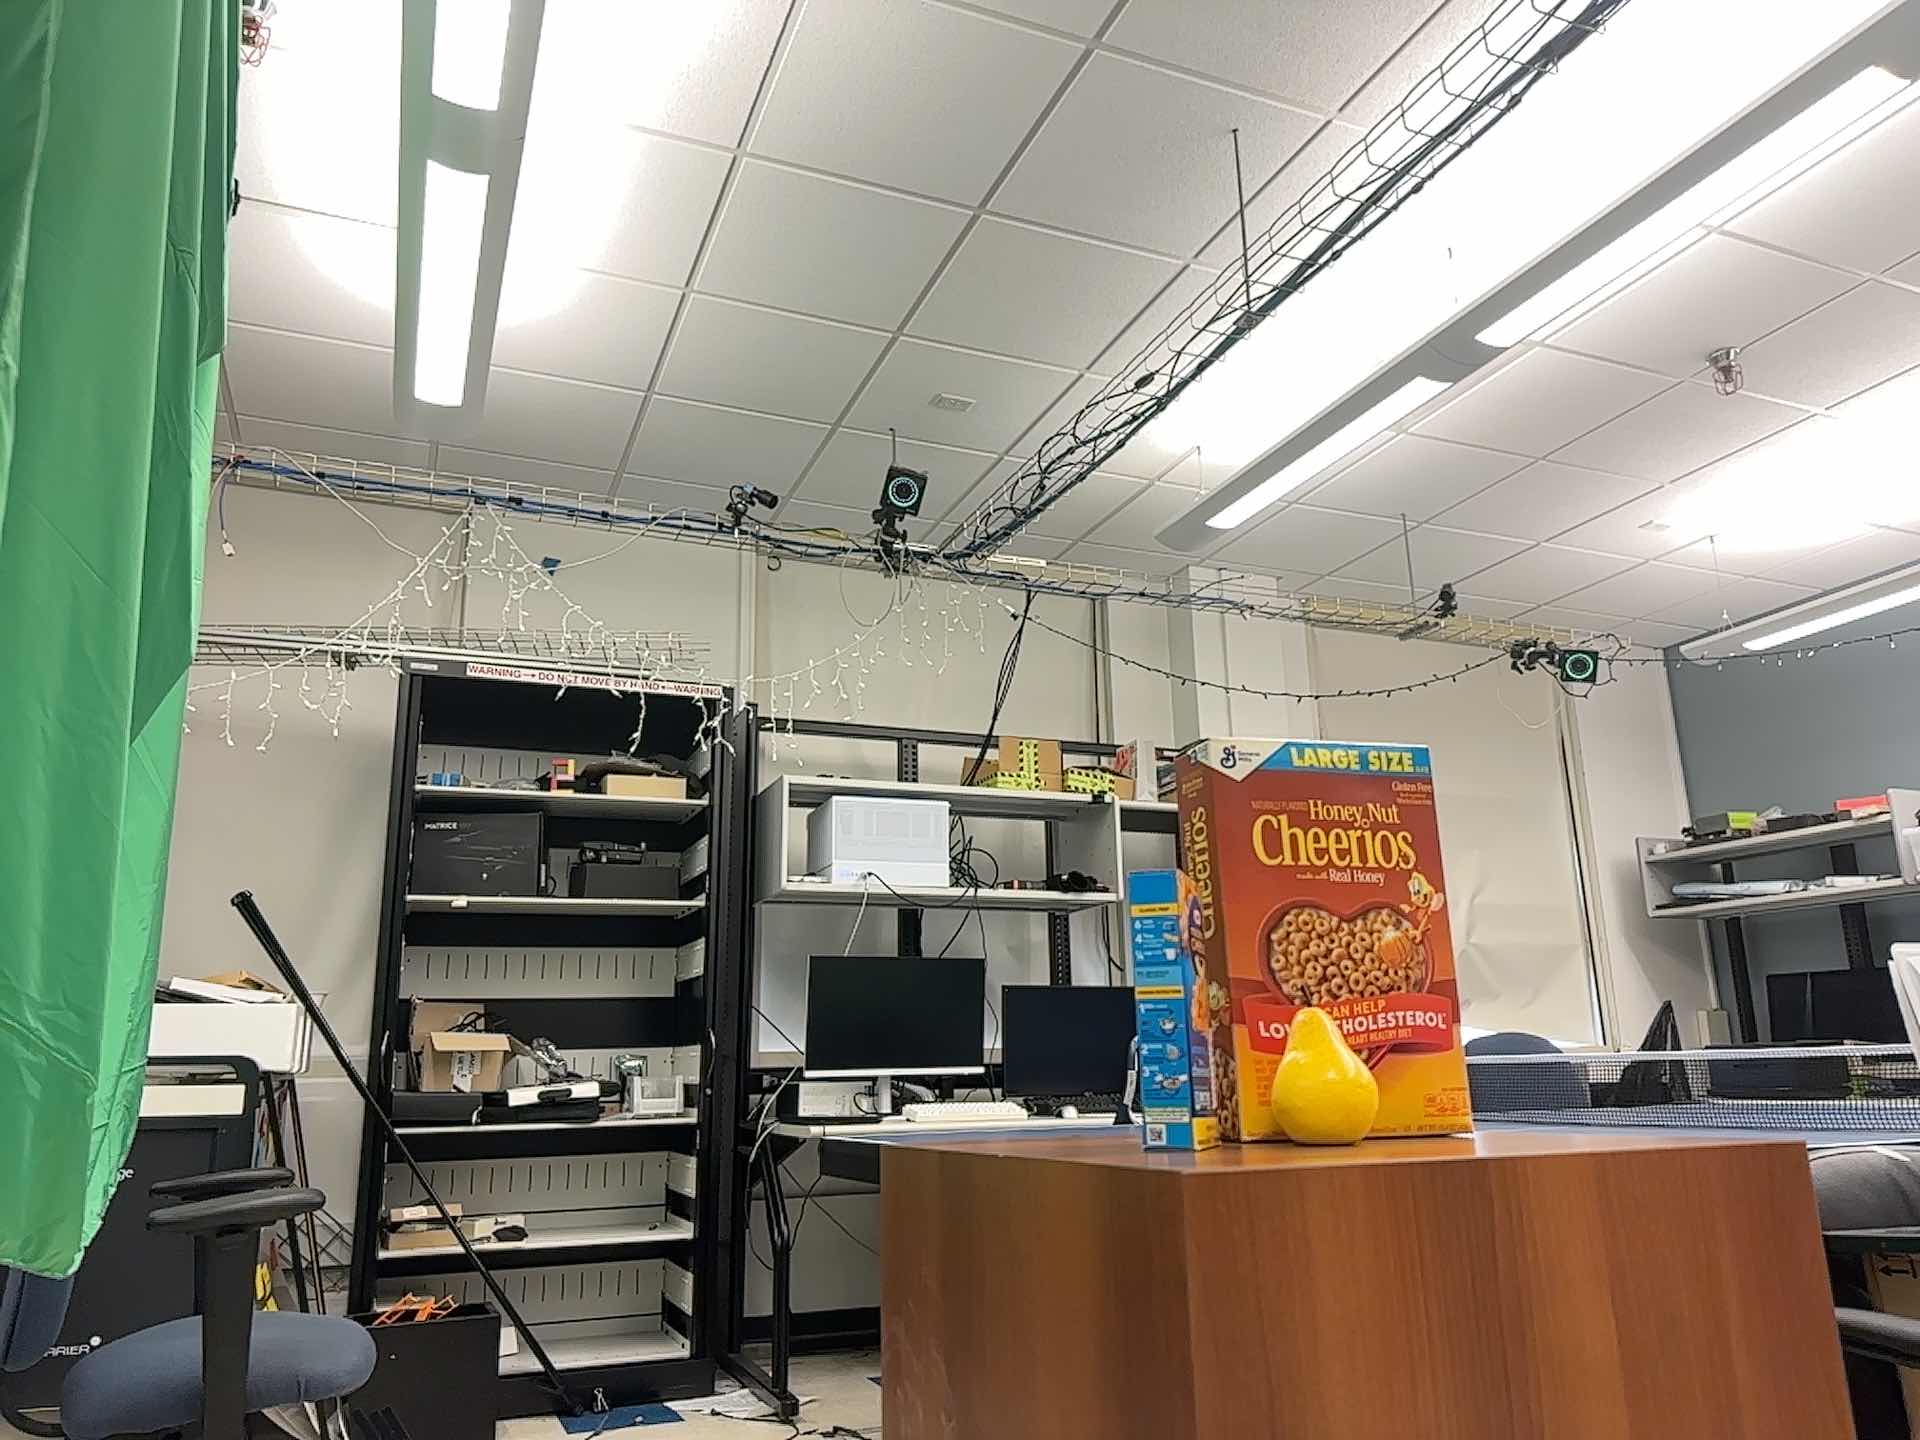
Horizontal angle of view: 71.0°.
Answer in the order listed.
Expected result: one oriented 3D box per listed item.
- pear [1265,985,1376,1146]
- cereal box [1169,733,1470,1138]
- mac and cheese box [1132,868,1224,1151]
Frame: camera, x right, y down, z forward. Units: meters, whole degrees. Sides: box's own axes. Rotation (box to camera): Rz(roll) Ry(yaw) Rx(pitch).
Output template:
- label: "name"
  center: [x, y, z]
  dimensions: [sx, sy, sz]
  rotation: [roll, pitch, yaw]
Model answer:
- label: "pear"
  center: [0.250, 0.239, 0.942]
  dimensions: [0.080, 0.111, 0.080]
  rotation: [0, -19, 0]
- label: "cereal box"
  center: [0.279, 0.165, 1.060]
  dimensions: [0.195, 0.297, 0.065]
  rotation: [3, -14, -17]
- label: "mac and cheese box"
  center: [0.151, 0.201, 0.935]
  dimensions: [0.035, 0.181, 0.088]
  rotation: [-7, -16, 22]
